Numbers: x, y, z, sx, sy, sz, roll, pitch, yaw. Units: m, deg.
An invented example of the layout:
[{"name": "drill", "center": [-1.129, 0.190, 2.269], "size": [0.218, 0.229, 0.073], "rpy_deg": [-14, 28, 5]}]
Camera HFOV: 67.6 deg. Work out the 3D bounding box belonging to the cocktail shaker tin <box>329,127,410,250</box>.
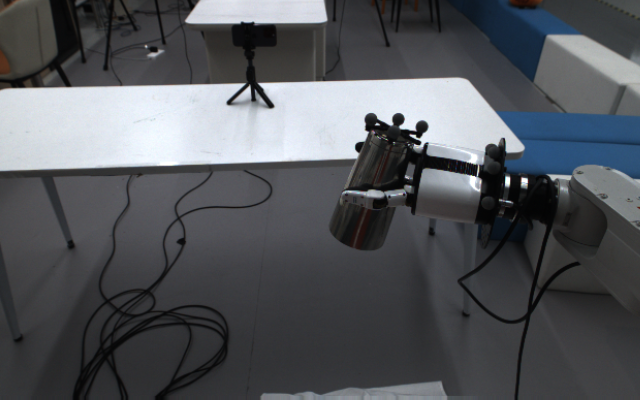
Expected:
[{"name": "cocktail shaker tin", "center": [0.082, -0.023, 0.719], "size": [0.093, 0.170, 0.093], "rpy_deg": [12, 29, -7]}]
